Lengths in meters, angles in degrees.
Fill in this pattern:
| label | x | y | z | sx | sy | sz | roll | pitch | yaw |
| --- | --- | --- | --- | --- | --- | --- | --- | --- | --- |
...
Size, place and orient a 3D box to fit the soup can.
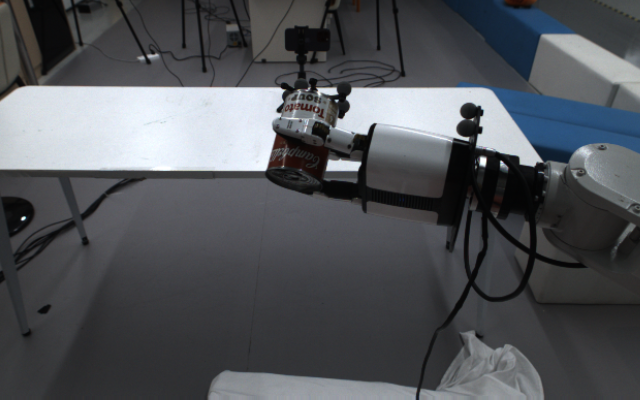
| label | x | y | z | sx | sy | sz | roll | pitch | yaw |
| --- | --- | --- | --- | --- | --- | --- | --- | --- | --- |
| soup can | -0.018 | -0.069 | 0.566 | 0.067 | 0.067 | 0.101 | 9 | 72 | 10 |
